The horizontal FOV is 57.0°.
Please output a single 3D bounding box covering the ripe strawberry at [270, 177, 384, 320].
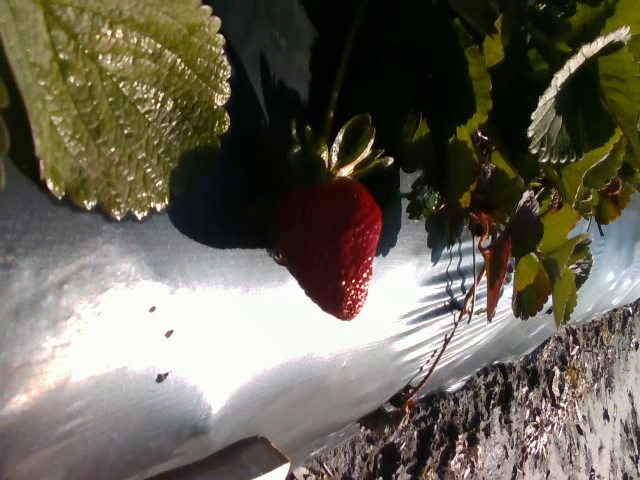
[{"bbox_3d":[0.004,0.004,0.191,0.043,0.050,0.043,-11,-33,6],"label":"ripe strawberry"}]
